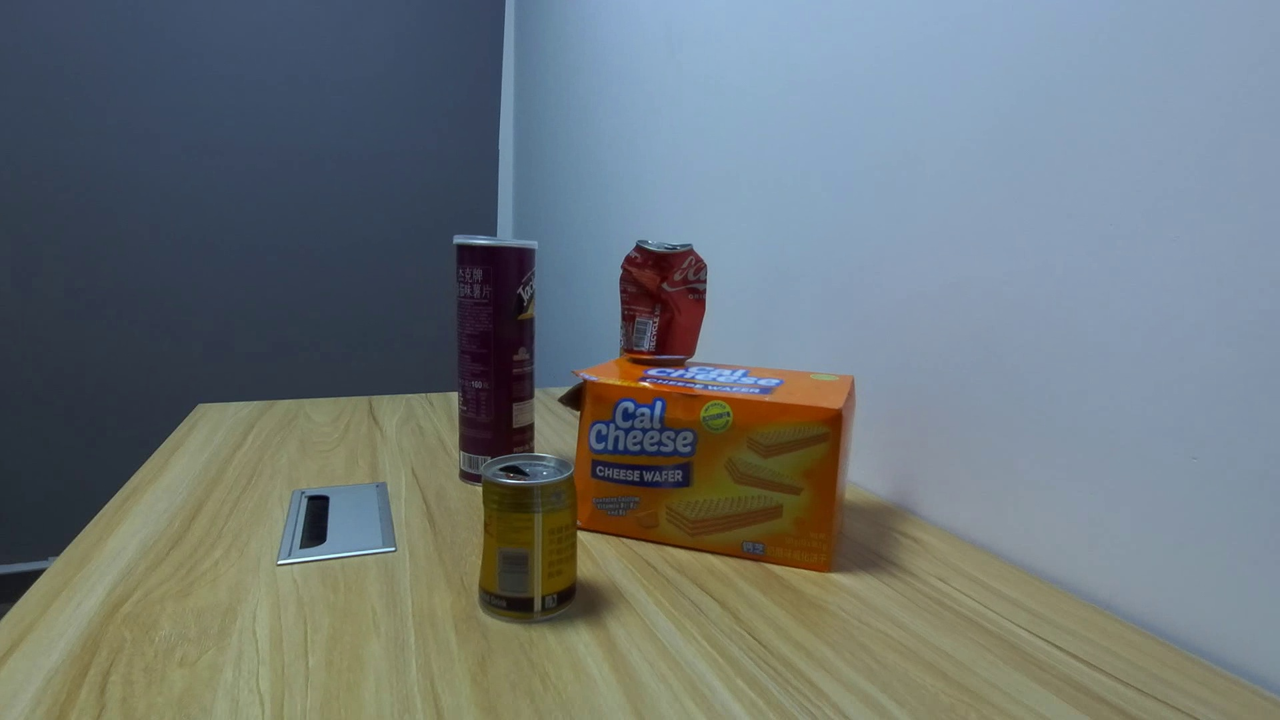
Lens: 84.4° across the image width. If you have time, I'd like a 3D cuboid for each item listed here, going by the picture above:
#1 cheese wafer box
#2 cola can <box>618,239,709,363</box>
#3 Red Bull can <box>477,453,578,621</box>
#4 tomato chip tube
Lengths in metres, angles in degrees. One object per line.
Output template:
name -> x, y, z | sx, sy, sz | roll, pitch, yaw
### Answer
cheese wafer box -> 0.064, 0.074, 0.609 | 0.226, 0.137, 0.150 | 5, 10, 19
cola can -> 0.018, -0.054, 0.650 | 0.069, 0.112, 0.066 | 12, 16, 37
Red Bull can -> -0.074, 0.115, 0.467 | 0.069, 0.092, 0.069 | 2, 10, 0
tomato chip tube -> -0.142, 0.002, 0.702 | 0.078, 0.233, 0.078 | 1, 8, 0
